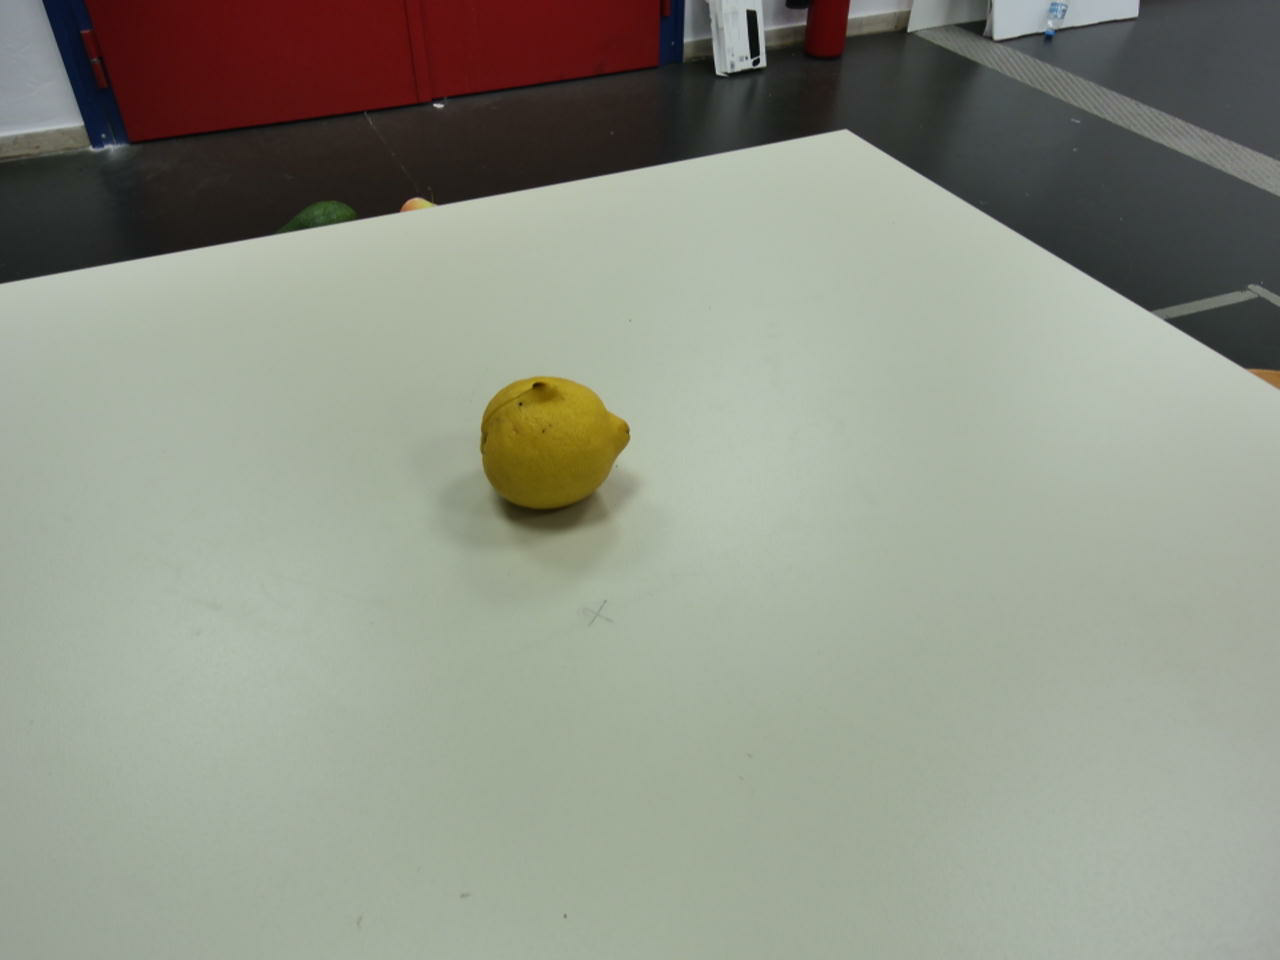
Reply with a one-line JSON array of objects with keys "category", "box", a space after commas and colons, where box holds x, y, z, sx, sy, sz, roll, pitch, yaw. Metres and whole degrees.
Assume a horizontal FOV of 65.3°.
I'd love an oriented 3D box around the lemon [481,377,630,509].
[{"category": "lemon", "box": [-0.048, -0.022, 0.512, 0.071, 0.071, 0.070, 22, 43, 23]}]
